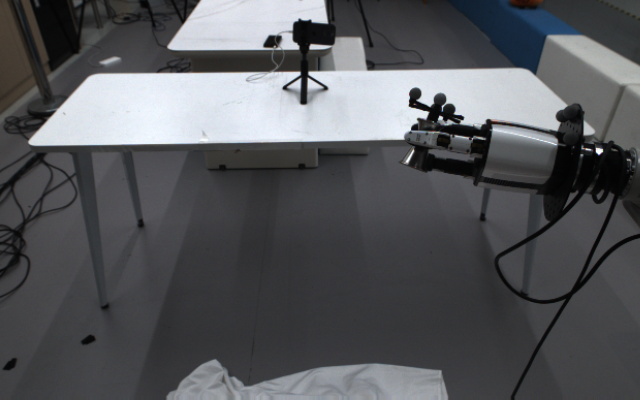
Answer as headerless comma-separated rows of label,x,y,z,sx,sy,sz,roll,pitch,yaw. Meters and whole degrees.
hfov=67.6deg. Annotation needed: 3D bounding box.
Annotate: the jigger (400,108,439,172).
jigger,0.143,-0.080,0.688,0.043,0.071,0.043,22,5,-2
